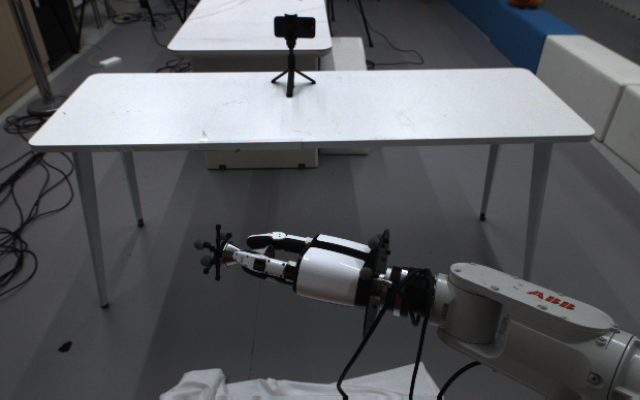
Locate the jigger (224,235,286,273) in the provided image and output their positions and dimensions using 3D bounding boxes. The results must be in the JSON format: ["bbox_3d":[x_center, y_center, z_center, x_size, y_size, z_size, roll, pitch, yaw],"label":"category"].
[{"bbox_3d":[-0.100,0.080,0.730,0.071,0.043,0.043,4,34,16],"label":"jigger"}]
